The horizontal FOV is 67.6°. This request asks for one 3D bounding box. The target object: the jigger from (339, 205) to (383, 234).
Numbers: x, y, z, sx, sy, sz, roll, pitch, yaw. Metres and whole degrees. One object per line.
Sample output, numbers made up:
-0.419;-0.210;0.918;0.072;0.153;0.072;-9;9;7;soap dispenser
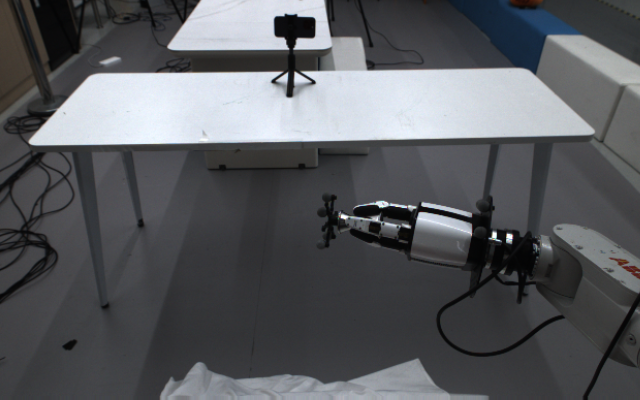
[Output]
0.072;0.035;0.785;0.071;0.043;0.043;4;34;15;jigger
